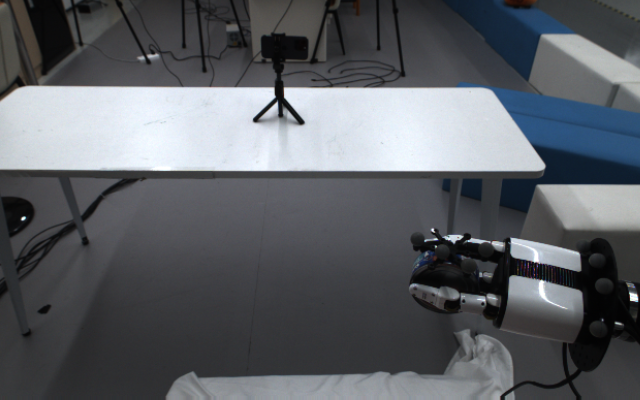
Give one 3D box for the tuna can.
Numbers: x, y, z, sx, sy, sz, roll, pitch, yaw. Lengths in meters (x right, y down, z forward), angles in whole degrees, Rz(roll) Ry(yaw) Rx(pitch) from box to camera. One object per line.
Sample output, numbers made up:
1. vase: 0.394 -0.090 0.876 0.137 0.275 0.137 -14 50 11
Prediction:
1. tuna can: 0.160 0.098 0.612 0.085 0.085 0.034 10 34 11
